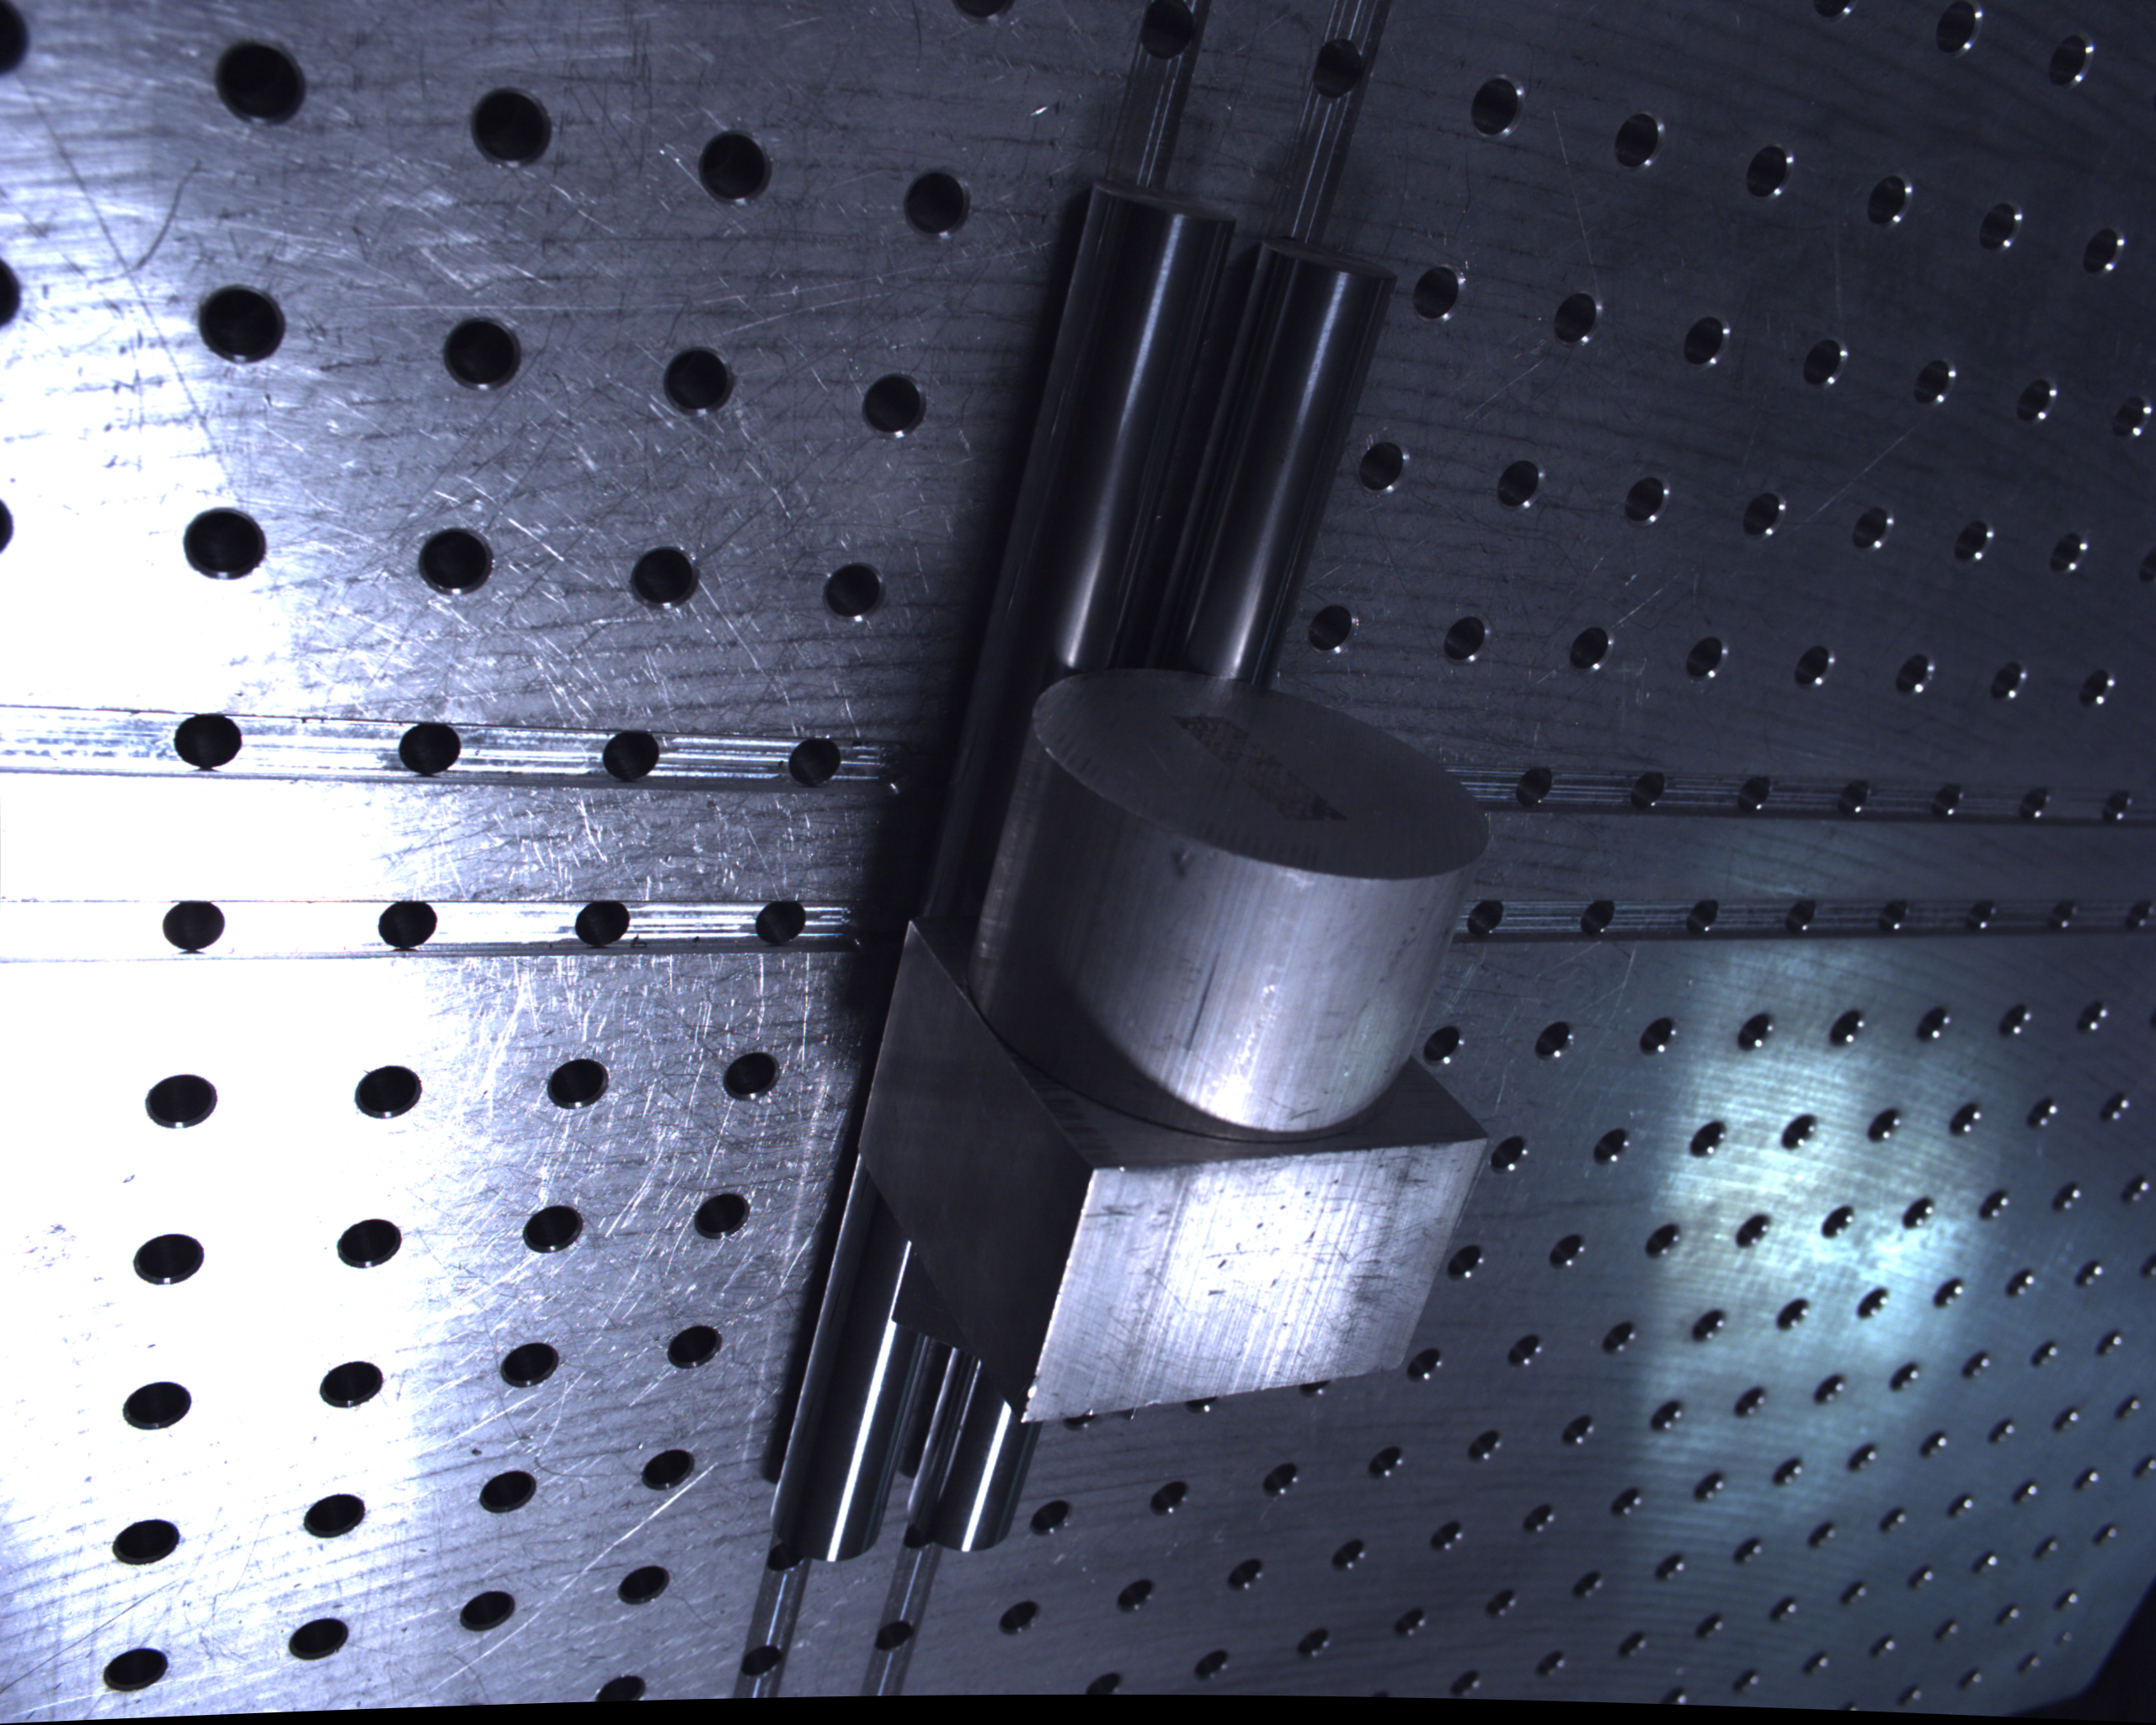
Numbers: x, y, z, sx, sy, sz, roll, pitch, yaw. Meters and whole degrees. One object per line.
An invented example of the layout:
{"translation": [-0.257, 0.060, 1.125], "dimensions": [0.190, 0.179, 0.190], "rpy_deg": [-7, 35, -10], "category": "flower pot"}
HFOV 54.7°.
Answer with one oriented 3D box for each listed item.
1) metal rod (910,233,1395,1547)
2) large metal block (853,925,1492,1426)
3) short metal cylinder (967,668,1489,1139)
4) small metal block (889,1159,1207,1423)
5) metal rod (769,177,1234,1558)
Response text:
{"translation": [0.008, 0.022, 0.433], "dimensions": [0.025, 0.025, 0.298], "rpy_deg": [1, 118, -29], "category": "metal rod"}
{"translation": [0.014, 0.053, 0.385], "dimensions": [0.081, 0.080, 0.050], "rpy_deg": [0, 118, -29], "category": "large metal block"}
{"translation": [0.025, 0.005, 0.367], "dimensions": [0.081, 0.080, 0.050], "rpy_deg": [1, 118, -29], "category": "short metal cylinder"}
{"translation": [-0.002, 0.077, 0.414], "dimensions": [0.050, 0.050, 0.025], "rpy_deg": [-46, 154, -63], "category": "small metal block"}
{"translation": [-0.022, 0.018, 0.414], "dimensions": [0.025, 0.025, 0.298], "rpy_deg": [1, 118, -29], "category": "metal rod"}
